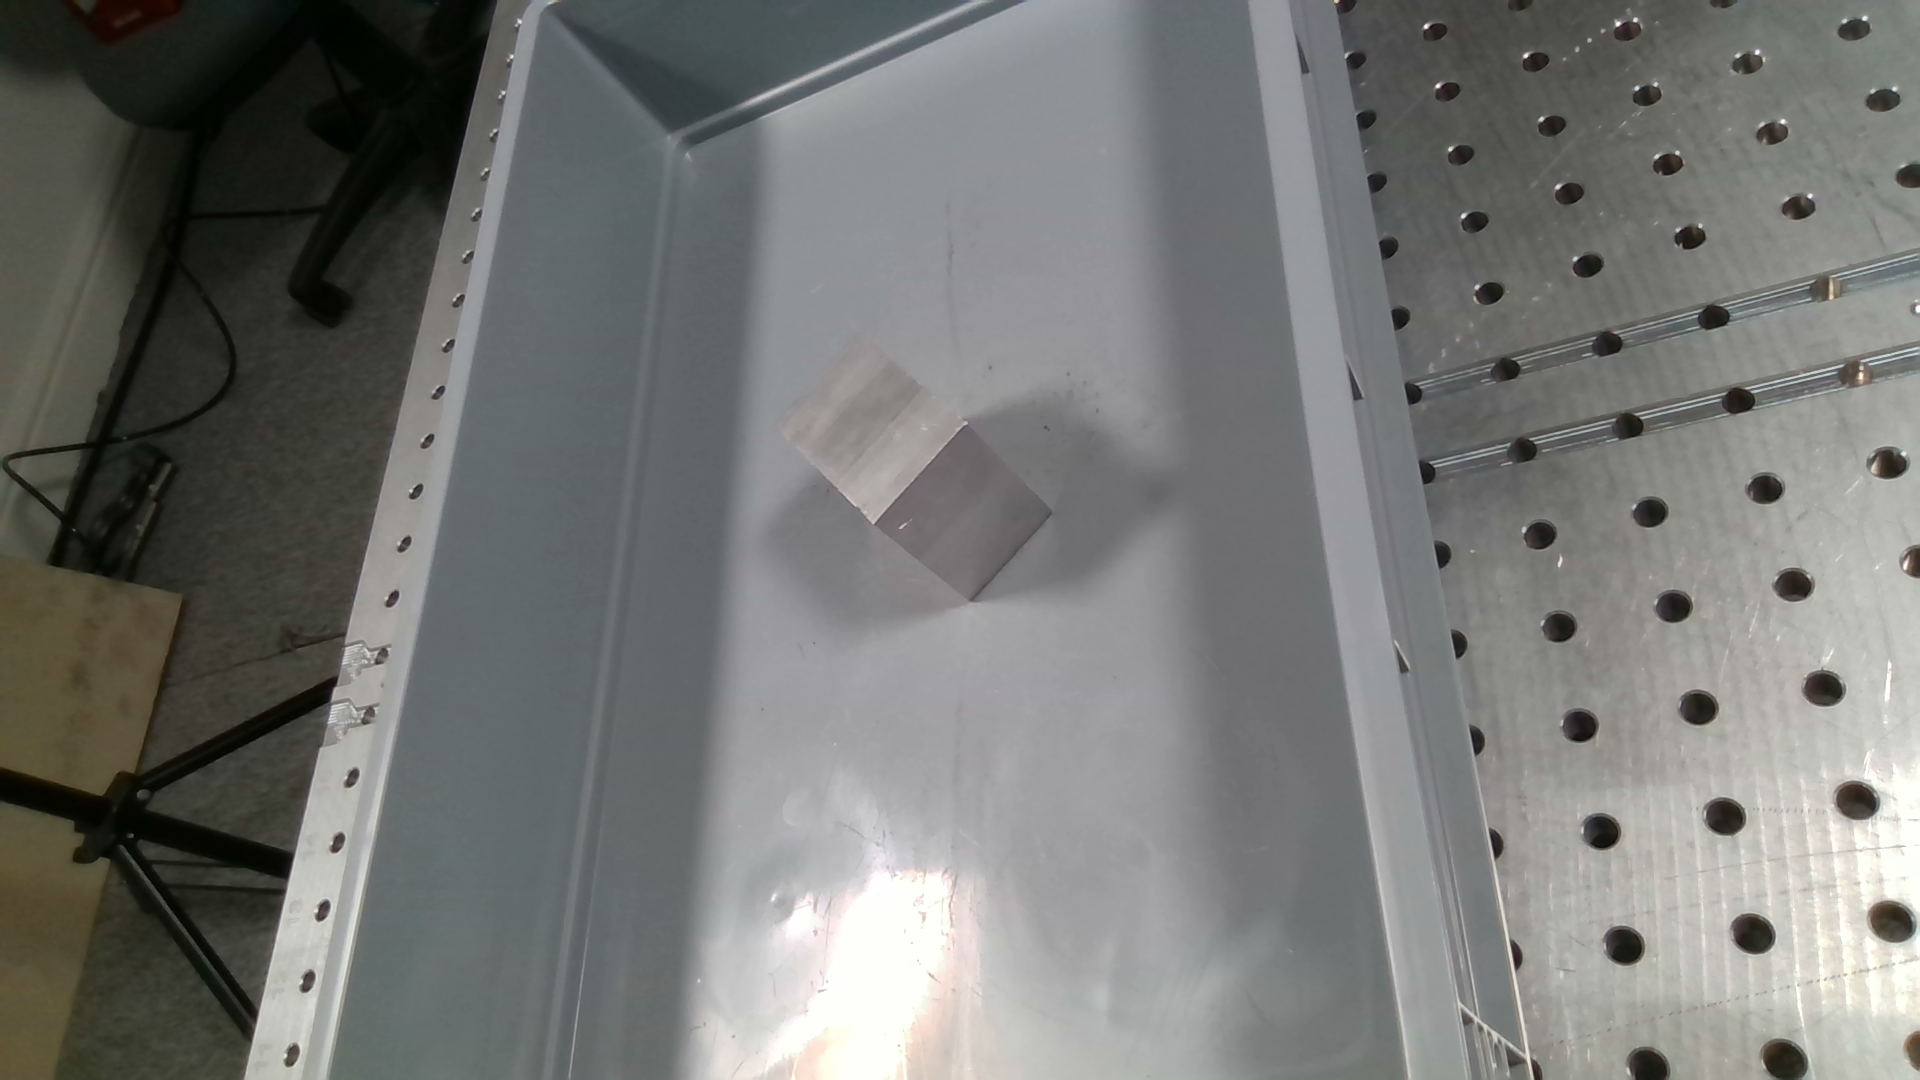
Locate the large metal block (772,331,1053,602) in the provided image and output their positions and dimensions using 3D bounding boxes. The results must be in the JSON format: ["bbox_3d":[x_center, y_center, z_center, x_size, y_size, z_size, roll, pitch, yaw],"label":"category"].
[{"bbox_3d":[-0.019,-0.030,0.574,0.050,0.080,0.080,-48,51,1],"label":"large metal block"}]
